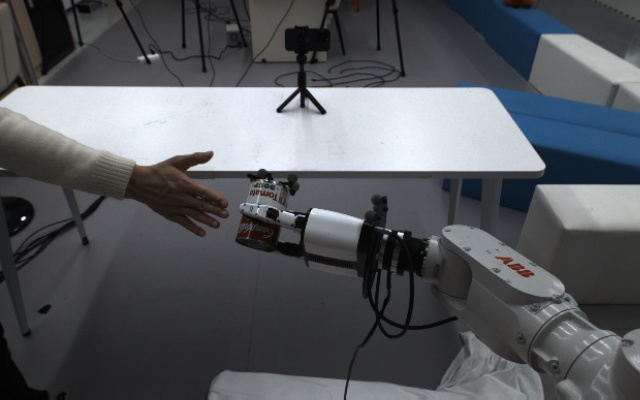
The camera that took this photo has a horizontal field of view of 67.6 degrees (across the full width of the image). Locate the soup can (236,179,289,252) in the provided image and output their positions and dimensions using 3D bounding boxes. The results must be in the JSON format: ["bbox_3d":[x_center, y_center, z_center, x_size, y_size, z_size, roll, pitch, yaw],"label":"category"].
[{"bbox_3d":[-0.091,0.027,0.781,0.067,0.067,0.101,9,72,10],"label":"soup can"}]
